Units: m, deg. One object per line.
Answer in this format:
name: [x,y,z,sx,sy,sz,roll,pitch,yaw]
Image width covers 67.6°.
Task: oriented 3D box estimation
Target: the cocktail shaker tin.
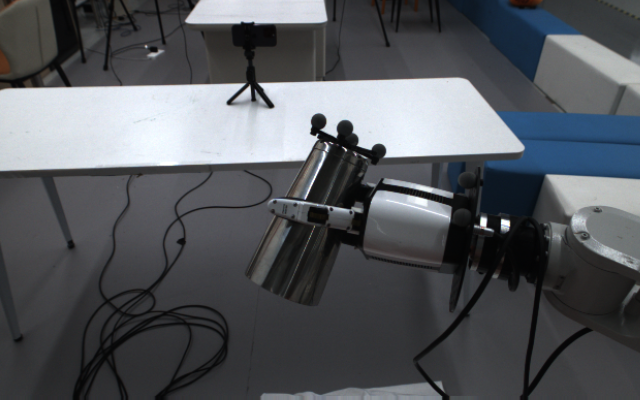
cocktail shaker tin: [-0.006,0.021,0.550,0.093,0.170,0.093,23,0,0]
